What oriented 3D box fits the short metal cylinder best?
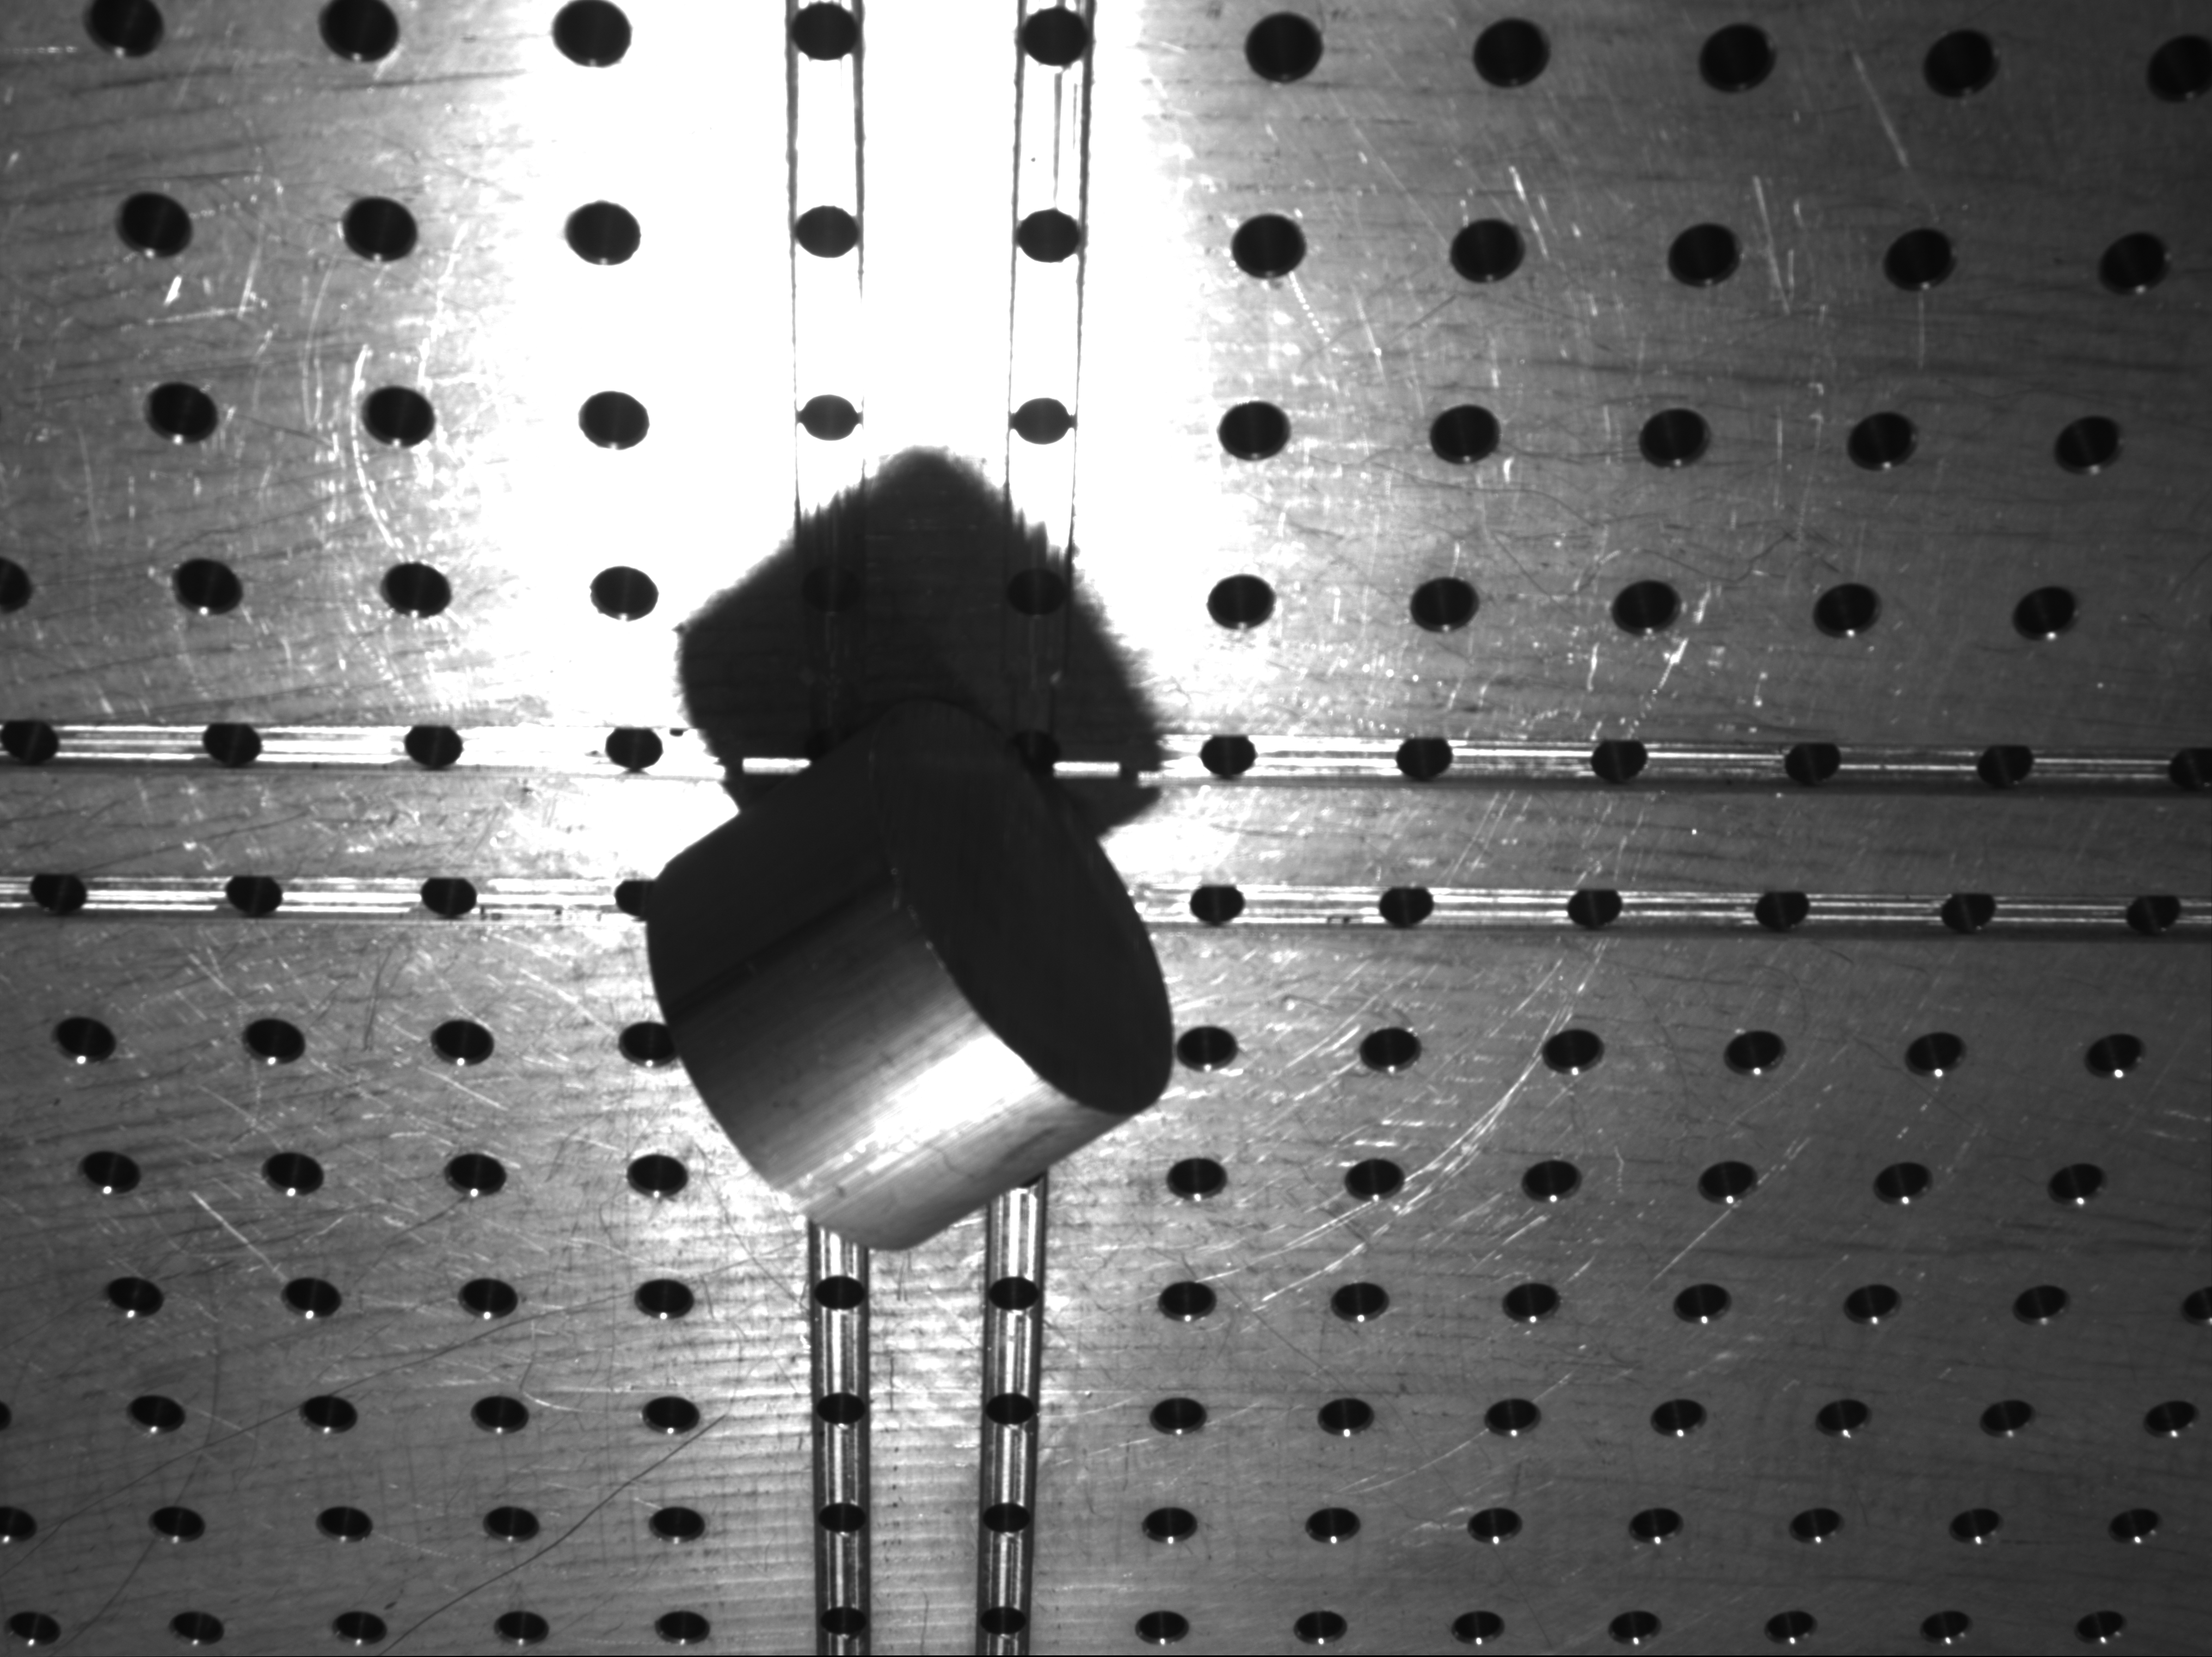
[{"bbox_3d":[-0.025,0.026,0.626,0.050,0.080,0.080,-33,124,23],"label":"short metal cylinder"}]
